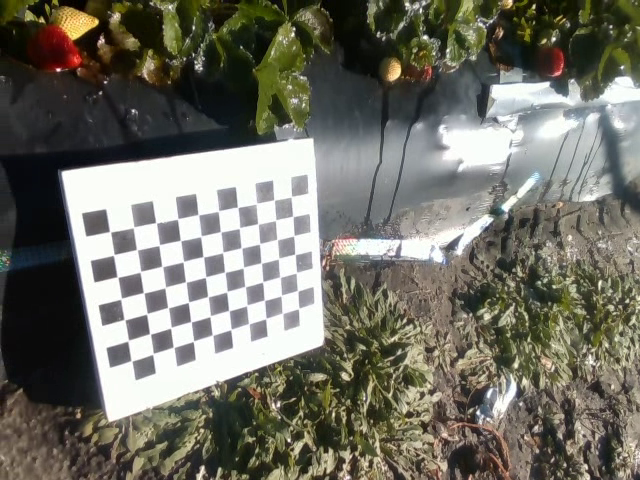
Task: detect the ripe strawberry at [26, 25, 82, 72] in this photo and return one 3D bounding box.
[{"bbox_3d":[-0.212,-0.153,0.560,0.053,0.040,0.042,28,-22,25],"label":"ripe strawberry"}]
